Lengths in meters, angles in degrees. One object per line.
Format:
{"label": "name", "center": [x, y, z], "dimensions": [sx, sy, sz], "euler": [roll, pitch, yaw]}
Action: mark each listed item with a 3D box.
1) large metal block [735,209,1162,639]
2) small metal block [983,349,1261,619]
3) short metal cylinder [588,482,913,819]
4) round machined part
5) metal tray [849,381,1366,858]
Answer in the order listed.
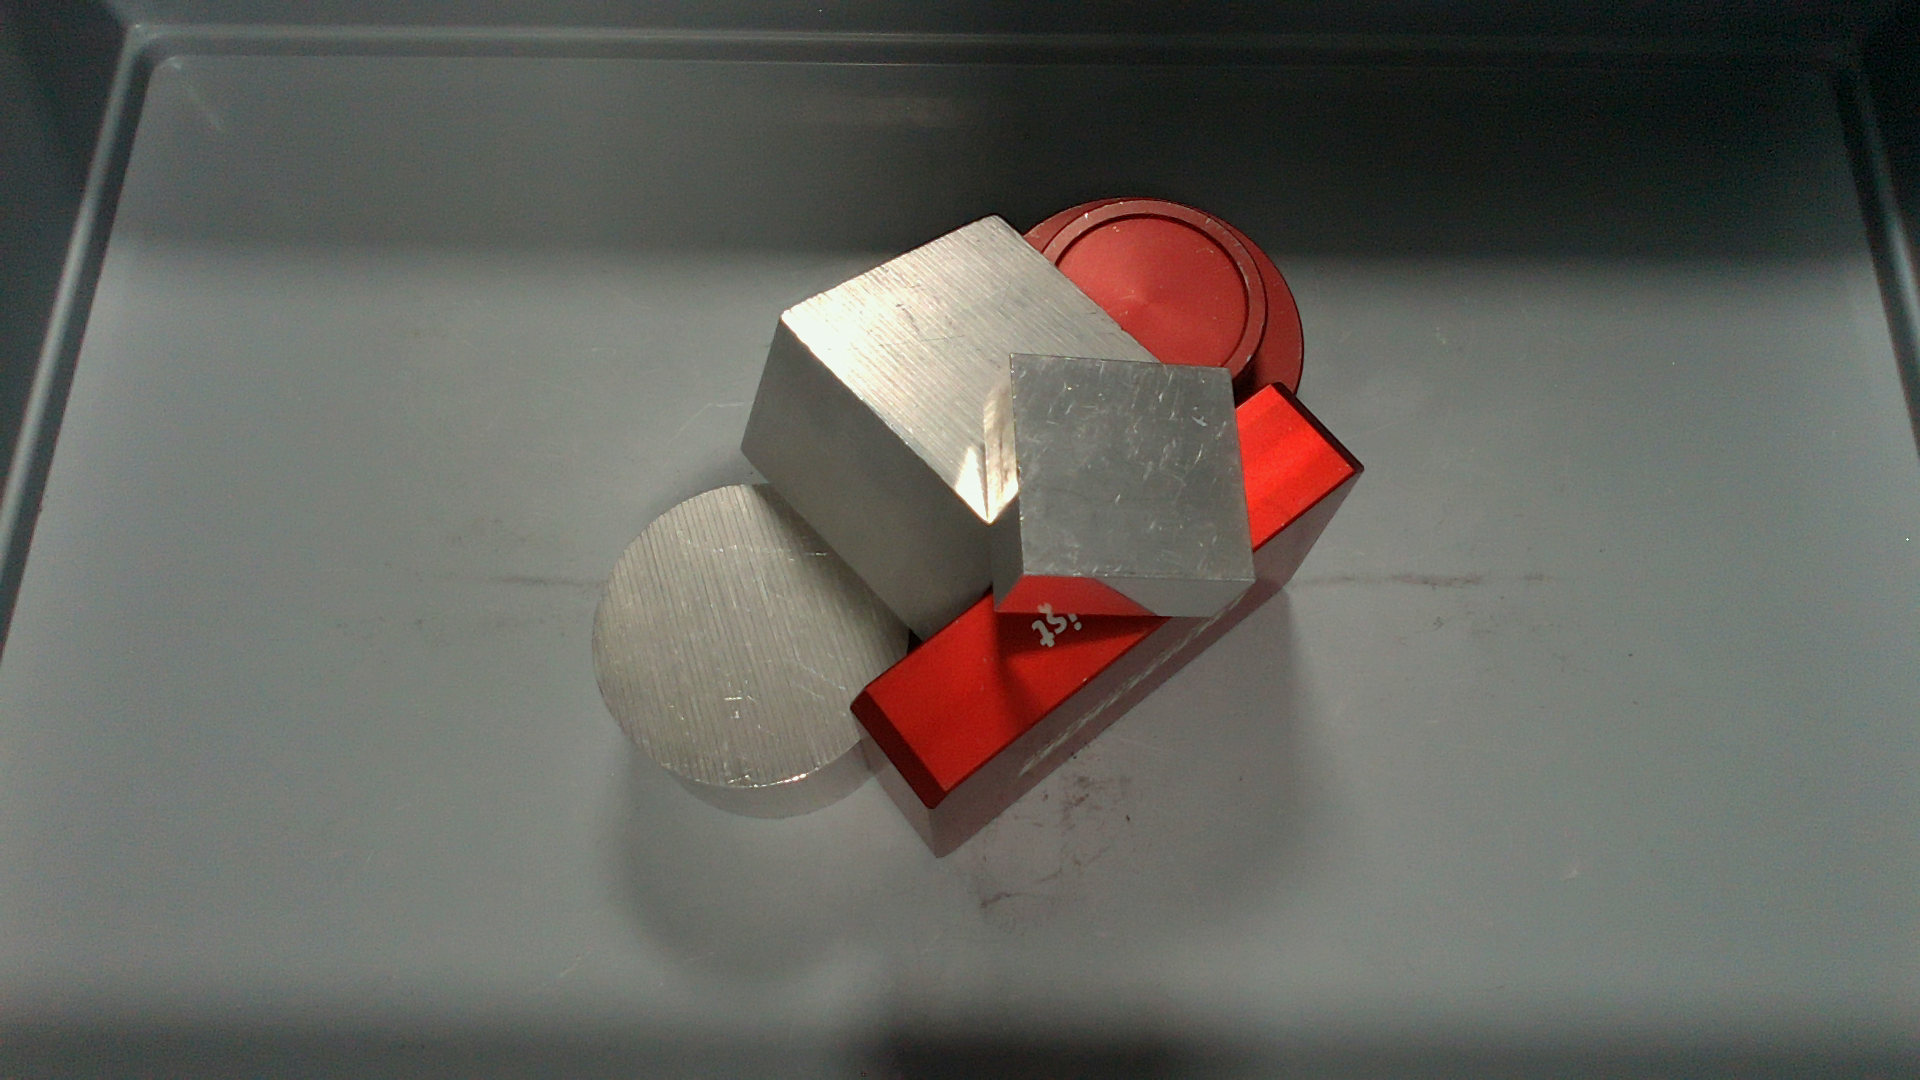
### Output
{"label": "large metal block", "center": [0.003, -0.029, 0.353], "dimensions": [0.080, 0.050, 0.080], "euler": [45, 51, 15]}
{"label": "small metal block", "center": [0.033, -0.011, 0.296], "dimensions": [0.050, 0.025, 0.050], "euler": [2, 69, -13]}
{"label": "short metal cylinder", "center": [-0.053, 0.031, 0.368], "dimensions": [0.080, 0.050, 0.080], "euler": [0, 70, 0]}
{"label": "round machined part", "center": [0.052, -0.060, 0.406], "dimensions": [0.098, 0.042, 0.098], "euler": [0, 70, 0]}
{"label": "metal tray", "center": [0.036, 0.024, 0.349], "dimensions": [0.130, 0.090, 0.030], "euler": [-37, 73, -13]}
